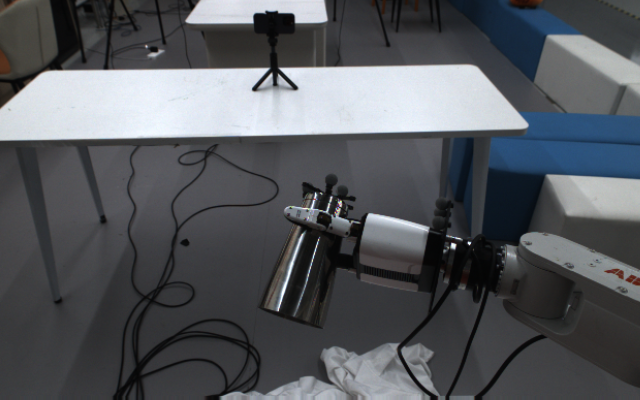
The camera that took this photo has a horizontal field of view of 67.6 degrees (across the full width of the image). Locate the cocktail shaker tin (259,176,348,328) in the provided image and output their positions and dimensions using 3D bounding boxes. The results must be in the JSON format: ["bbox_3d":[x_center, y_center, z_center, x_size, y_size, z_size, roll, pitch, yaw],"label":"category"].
[{"bbox_3d":[-0.014,0.077,0.666,0.093,0.093,0.170,13,71,15],"label":"cocktail shaker tin"}]
